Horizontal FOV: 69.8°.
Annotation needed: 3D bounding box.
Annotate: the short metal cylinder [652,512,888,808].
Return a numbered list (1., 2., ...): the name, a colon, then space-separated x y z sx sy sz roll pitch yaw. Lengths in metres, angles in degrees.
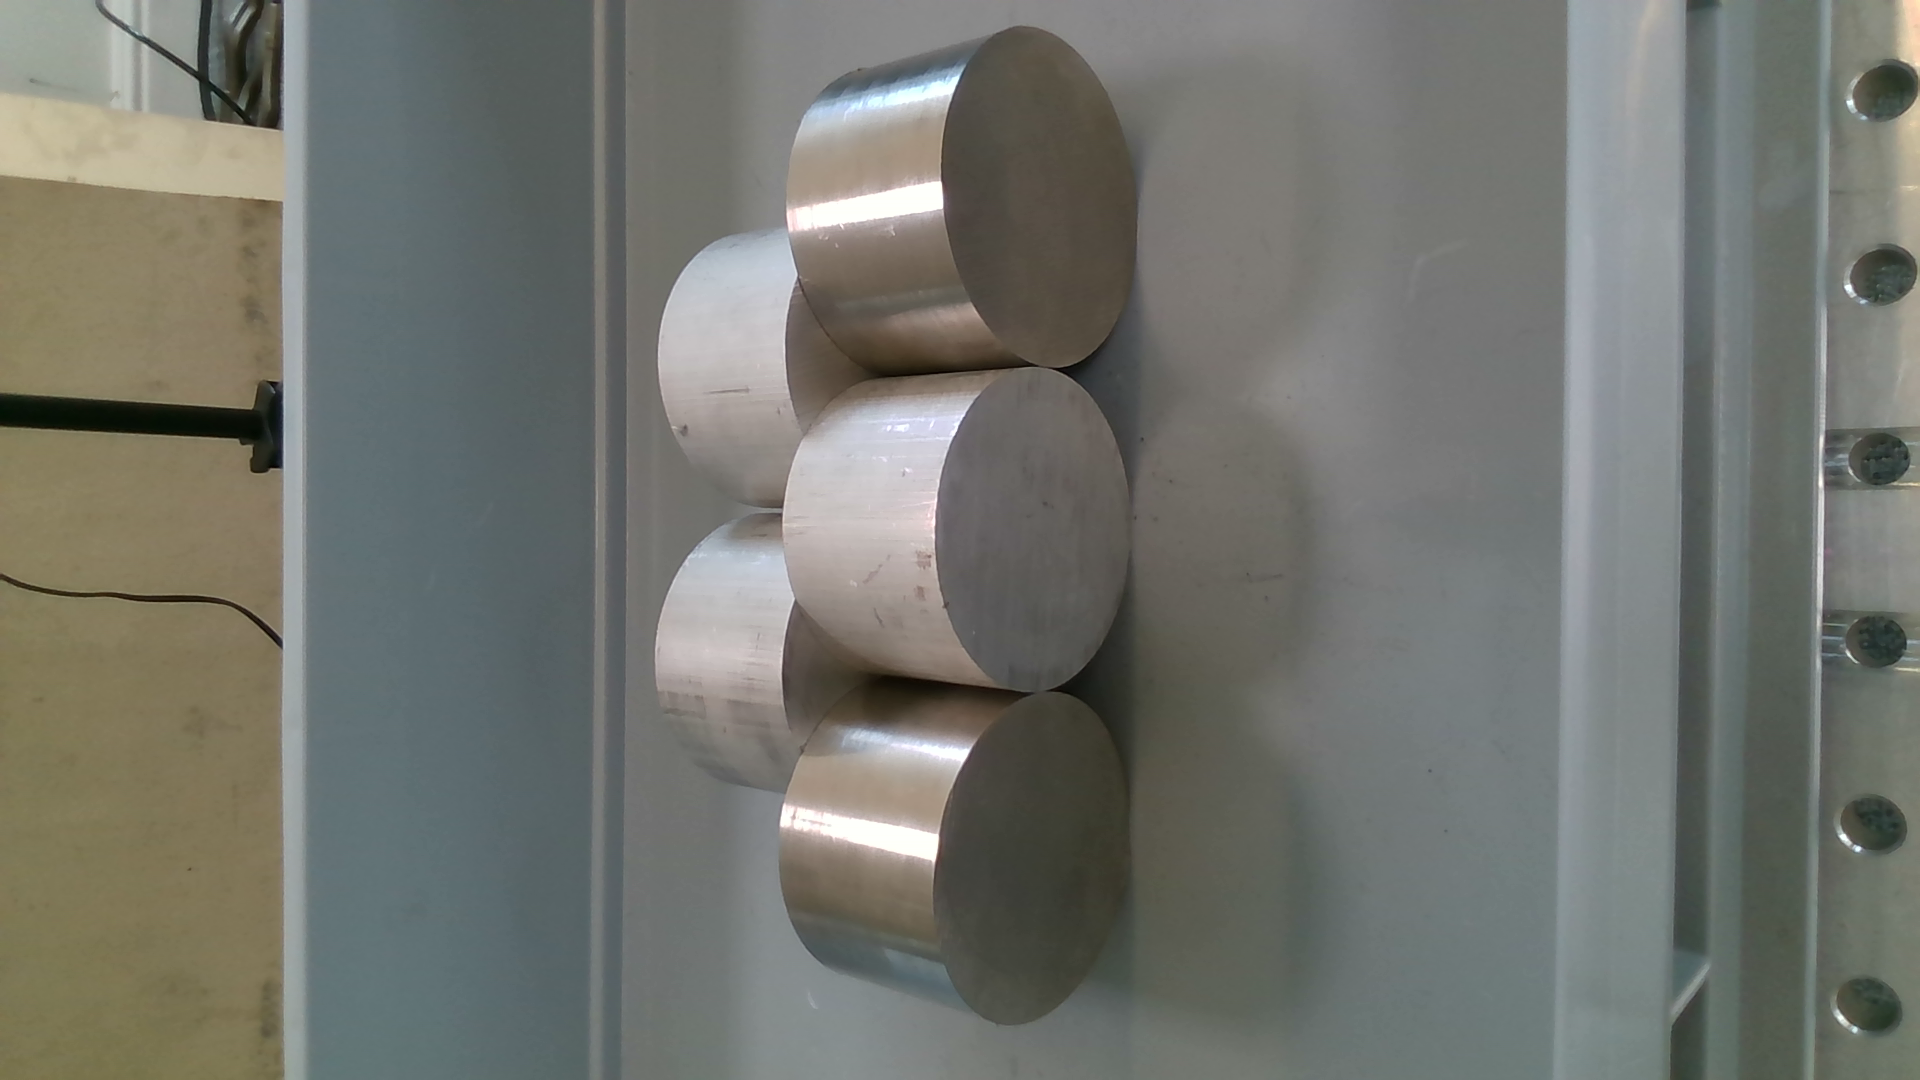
1. short metal cylinder: -0.038 0.032 0.386 0.050 0.080 0.080 1 91 40

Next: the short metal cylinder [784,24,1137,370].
1. short metal cylinder: 0.002 -0.084 0.351 0.050 0.080 0.080 1 91 40

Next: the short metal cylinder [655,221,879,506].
1. short metal cylinder: -0.037 -0.050 0.384 0.050 0.080 0.080 1 91 40

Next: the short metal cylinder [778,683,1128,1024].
1. short metal cylinder: 0.000 0.077 0.354 0.050 0.080 0.080 2 92 40

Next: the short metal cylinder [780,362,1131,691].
1. short metal cylinder: 0.001 -0.003 0.352 0.050 0.080 0.080 1 91 40
